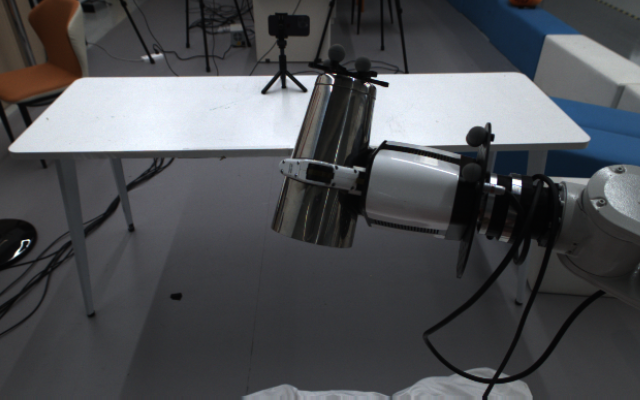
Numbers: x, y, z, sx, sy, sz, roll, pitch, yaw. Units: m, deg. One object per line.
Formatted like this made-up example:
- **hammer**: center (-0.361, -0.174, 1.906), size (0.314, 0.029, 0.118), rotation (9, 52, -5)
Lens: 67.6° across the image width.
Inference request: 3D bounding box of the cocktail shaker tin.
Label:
- **cocktail shaker tin**: center (0.011, -0.042, 0.523), size (0.093, 0.170, 0.093), rotation (13, 4, -1)
